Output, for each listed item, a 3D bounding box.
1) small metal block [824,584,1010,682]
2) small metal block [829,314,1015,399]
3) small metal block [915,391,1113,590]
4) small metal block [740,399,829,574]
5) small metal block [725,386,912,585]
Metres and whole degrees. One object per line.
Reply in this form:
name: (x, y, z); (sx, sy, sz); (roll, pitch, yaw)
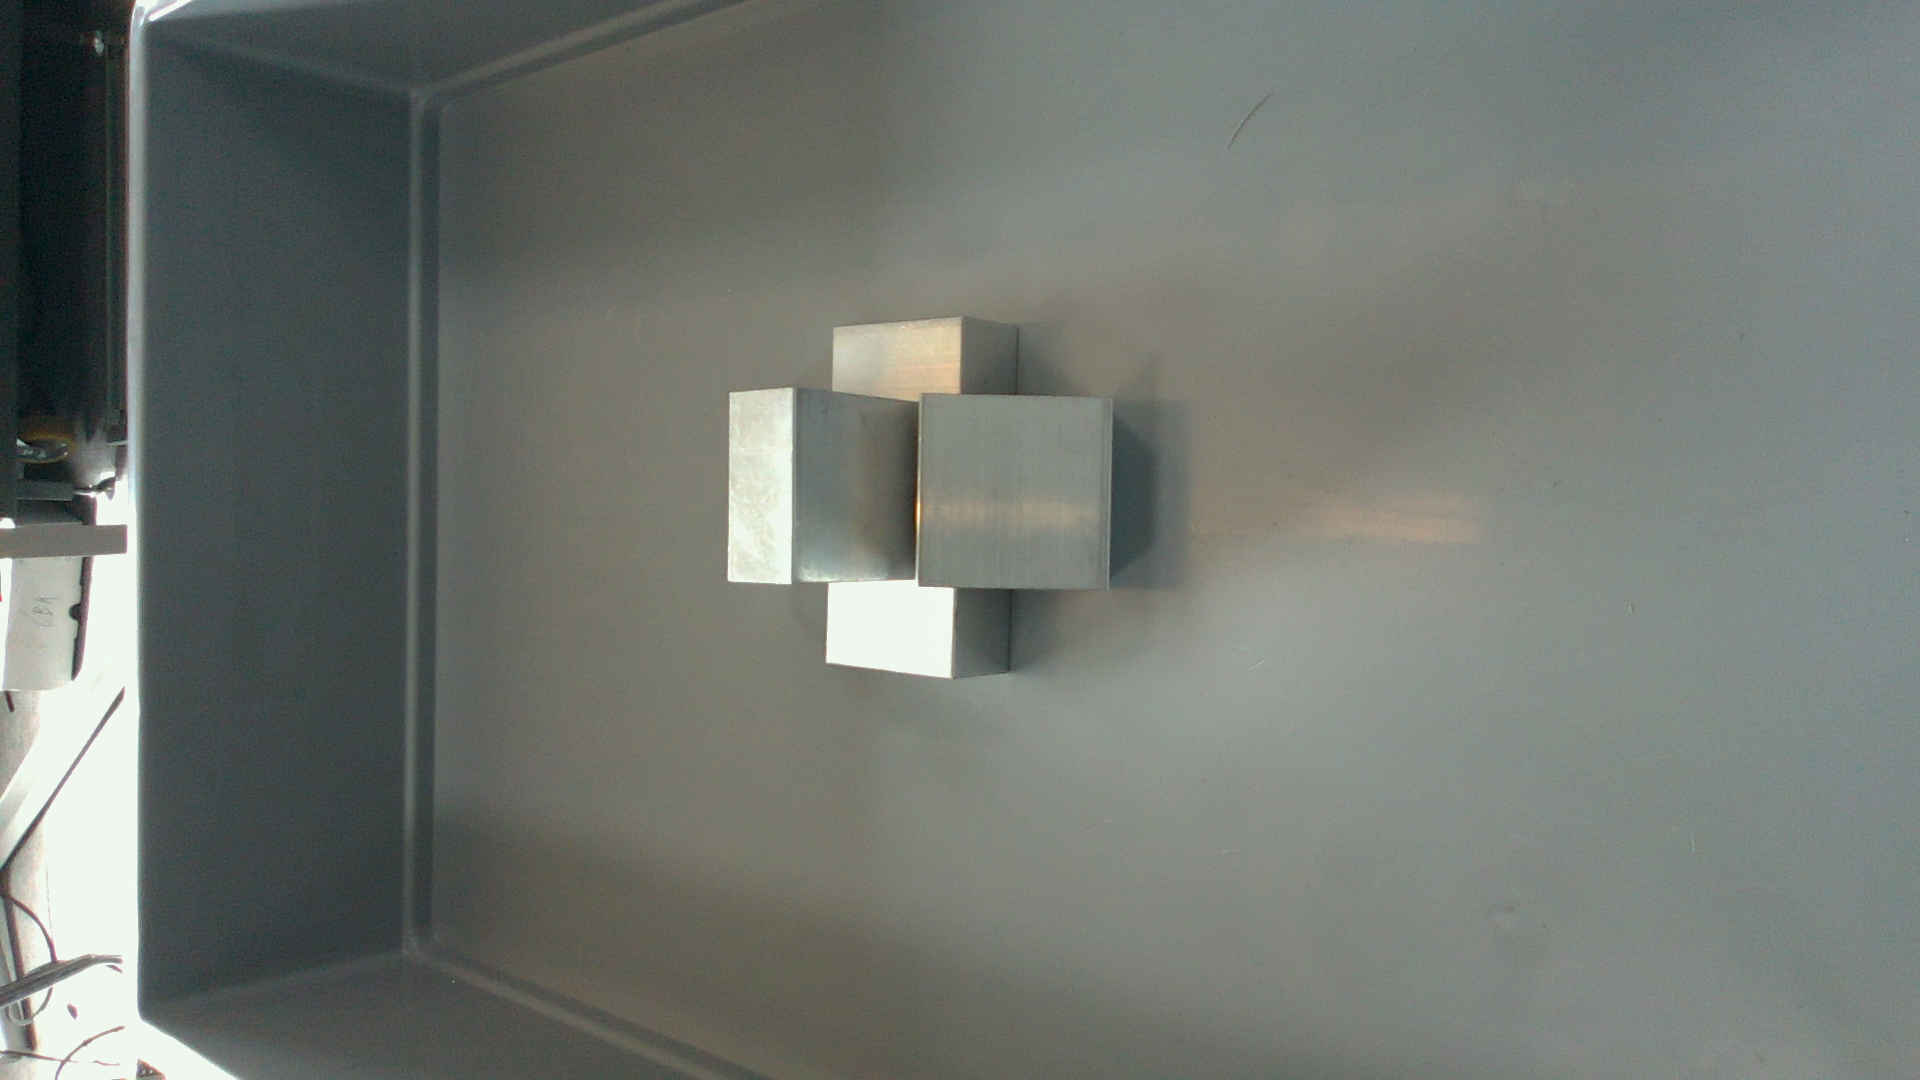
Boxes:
small metal block: (-0.013, 0.013, 0.403); (0.050, 0.025, 0.050); (3, 92, 40)
small metal block: (-0.012, -0.038, 0.402); (0.050, 0.025, 0.050); (3, 92, 39)
small metal block: (0.014, -0.013, 0.366); (0.050, 0.025, 0.050); (1, 92, 1)
small metal block: (-0.053, -0.015, 0.420); (0.050, 0.025, 0.050); (-174, 84, -84)
small metal block: (-0.036, -0.014, 0.373); (0.025, 0.050, 0.050); (1, 90, 40)
